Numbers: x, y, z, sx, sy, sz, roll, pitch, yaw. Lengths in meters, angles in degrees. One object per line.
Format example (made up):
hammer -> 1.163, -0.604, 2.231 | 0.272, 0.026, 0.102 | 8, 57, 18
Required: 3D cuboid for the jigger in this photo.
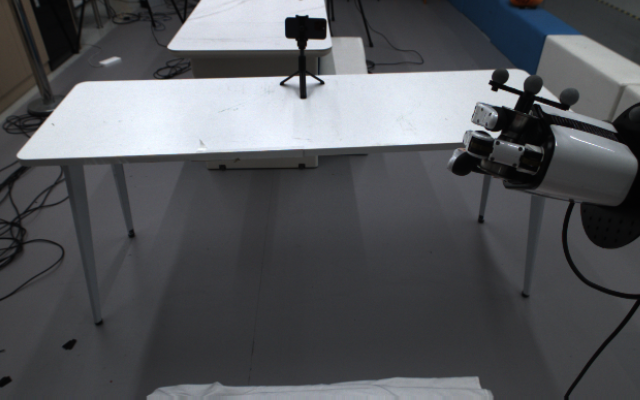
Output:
jigger -> 0.198, -0.061, 0.514 | 0.043, 0.071, 0.043 | 18, 17, -6
